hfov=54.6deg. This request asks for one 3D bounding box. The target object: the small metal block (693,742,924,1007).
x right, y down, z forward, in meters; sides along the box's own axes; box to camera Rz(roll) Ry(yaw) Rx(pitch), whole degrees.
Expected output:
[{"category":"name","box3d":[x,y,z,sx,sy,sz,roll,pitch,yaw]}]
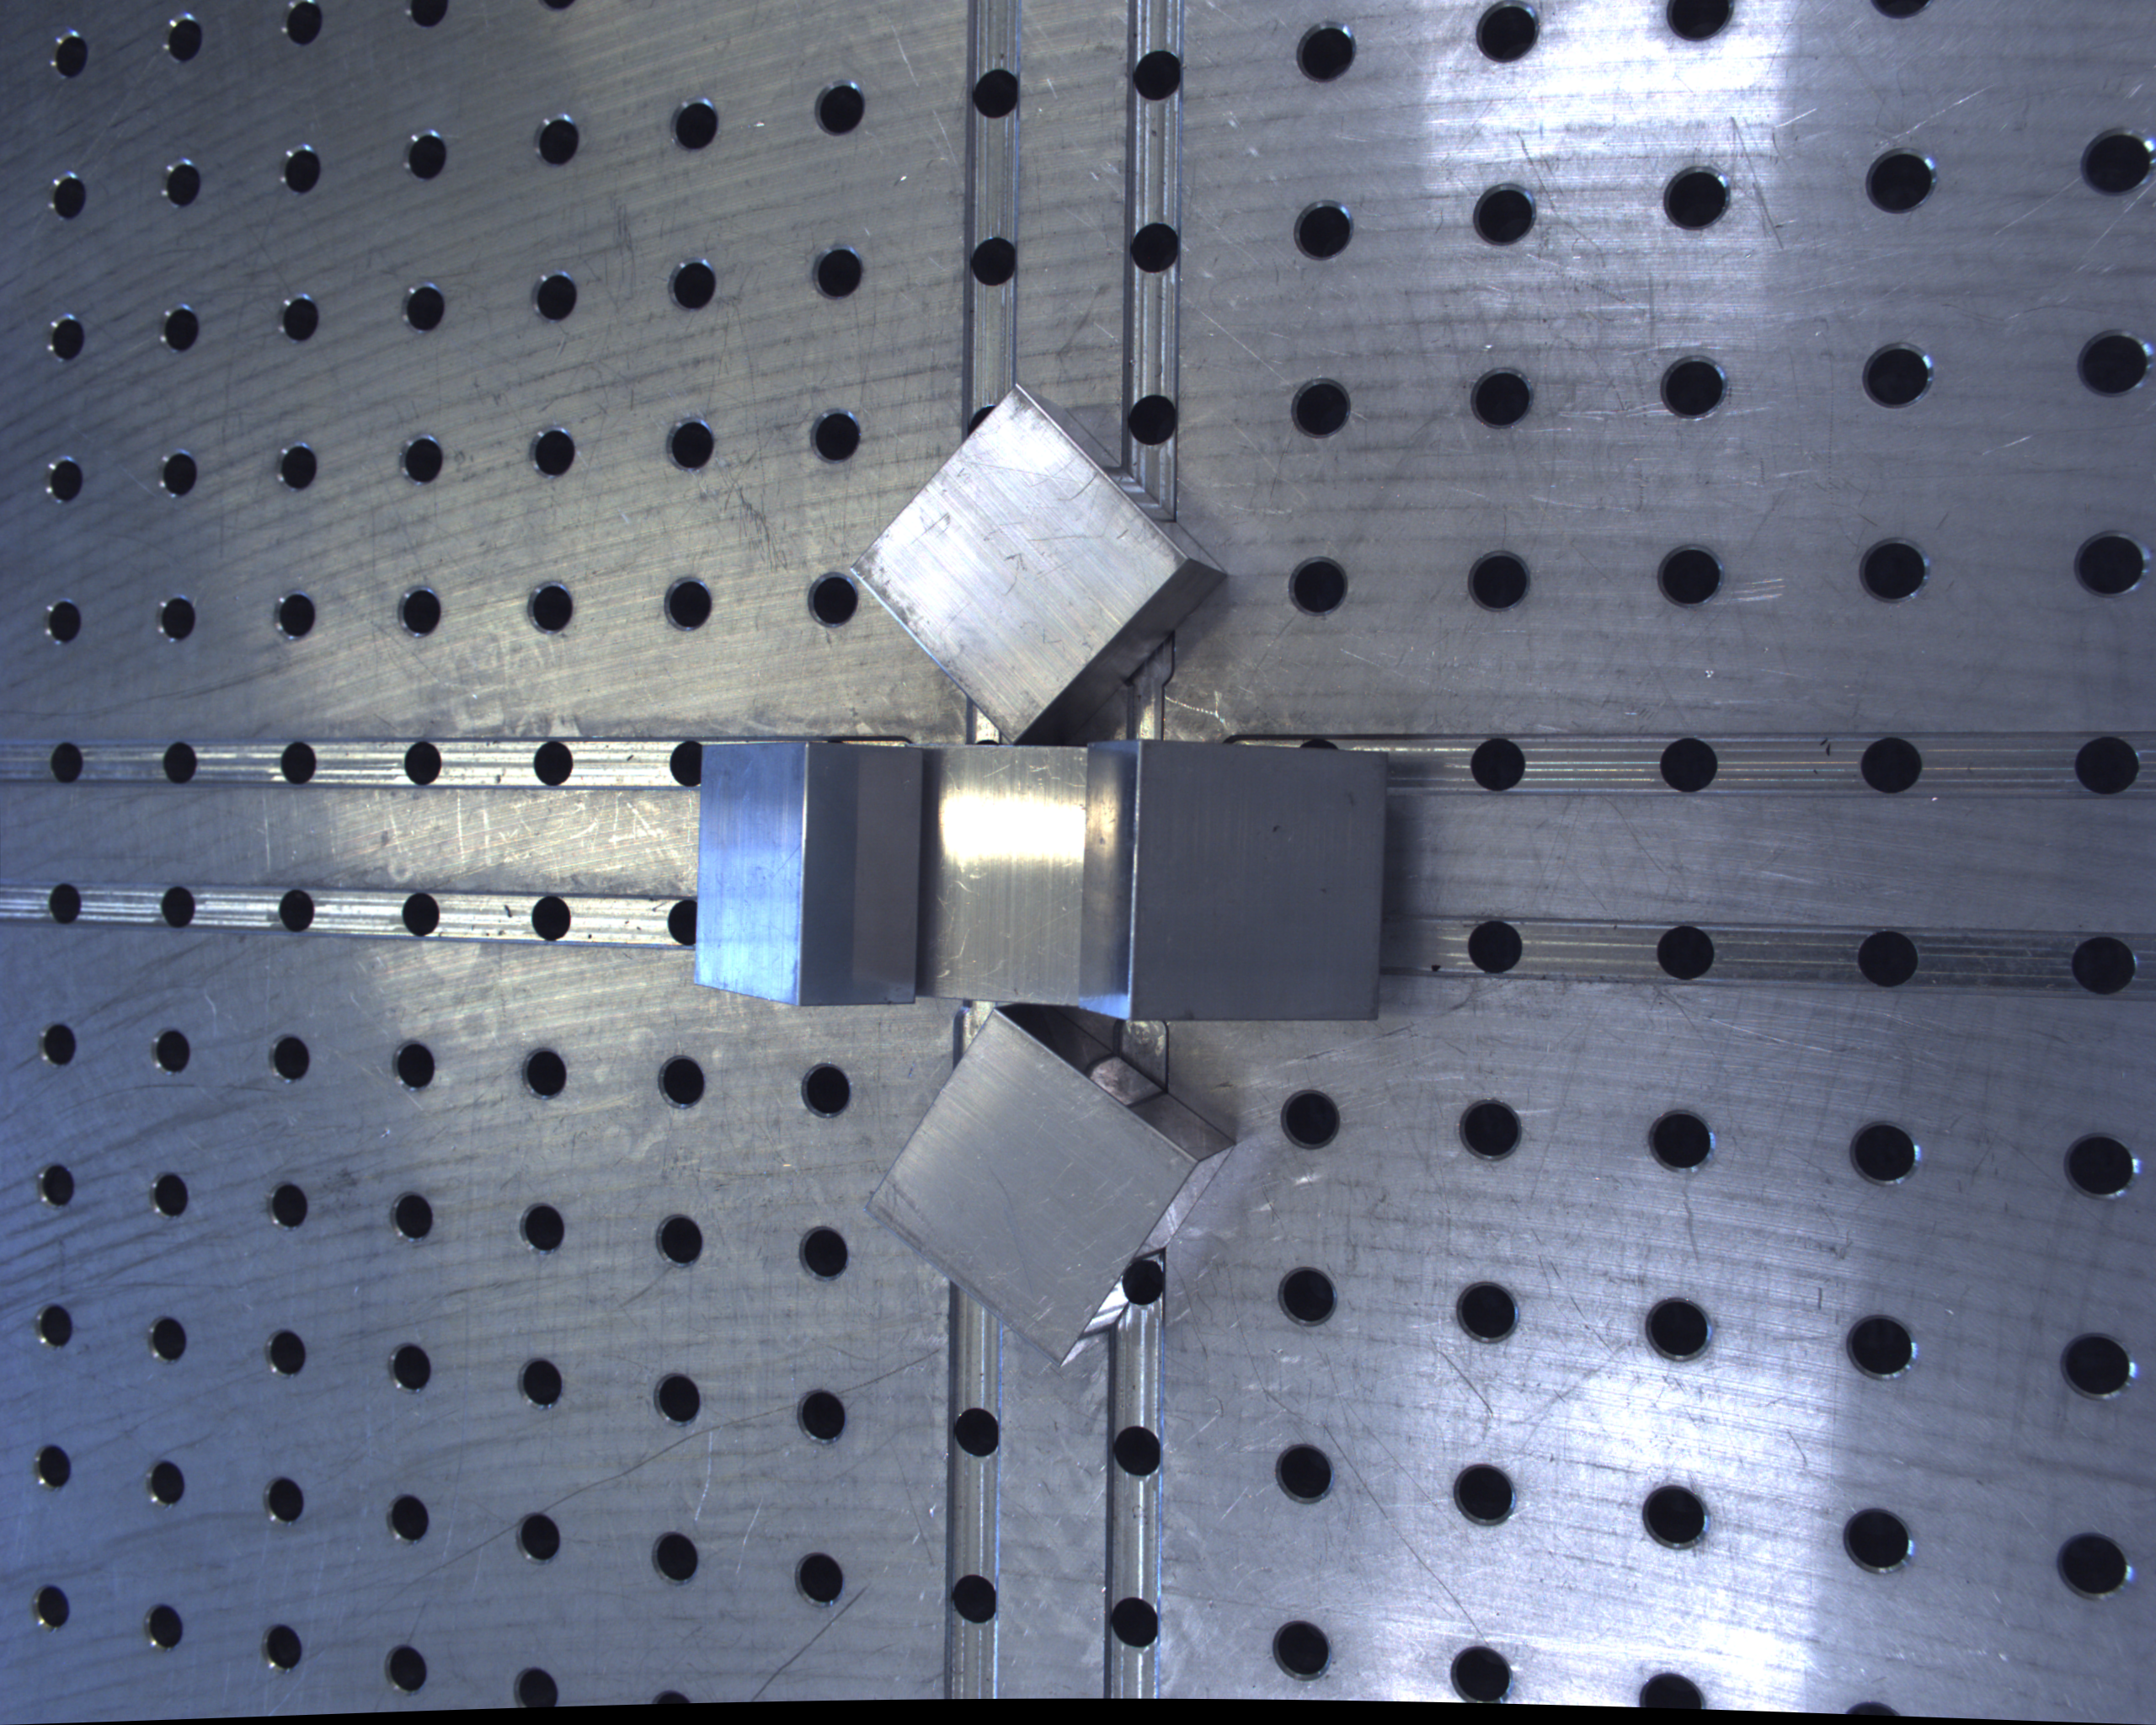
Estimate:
[{"category":"small metal block","box3d":[-0.055,0.001,0.419,0.050,0.025,0.050,4,93,56]}]

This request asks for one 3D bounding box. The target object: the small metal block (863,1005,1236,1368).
[{"category":"small metal block","box3d":[-0.006,0.062,0.414,0.050,0.025,0.050,36,102,18]}]

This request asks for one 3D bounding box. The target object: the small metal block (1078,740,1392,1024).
[{"category":"small metal block","box3d":[0.029,0.004,0.388,0.050,0.025,0.050,2,91,-21]}]

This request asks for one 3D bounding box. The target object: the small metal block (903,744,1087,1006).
[{"category":"small metal block","box3d":[-0.007,0.002,0.415,0.050,0.025,0.050,2,90,20]}]

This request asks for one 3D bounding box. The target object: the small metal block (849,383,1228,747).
[{"category":"small metal block","box3d":[-0.008,-0.058,0.416,0.050,0.025,0.050,-45,75,14]}]
